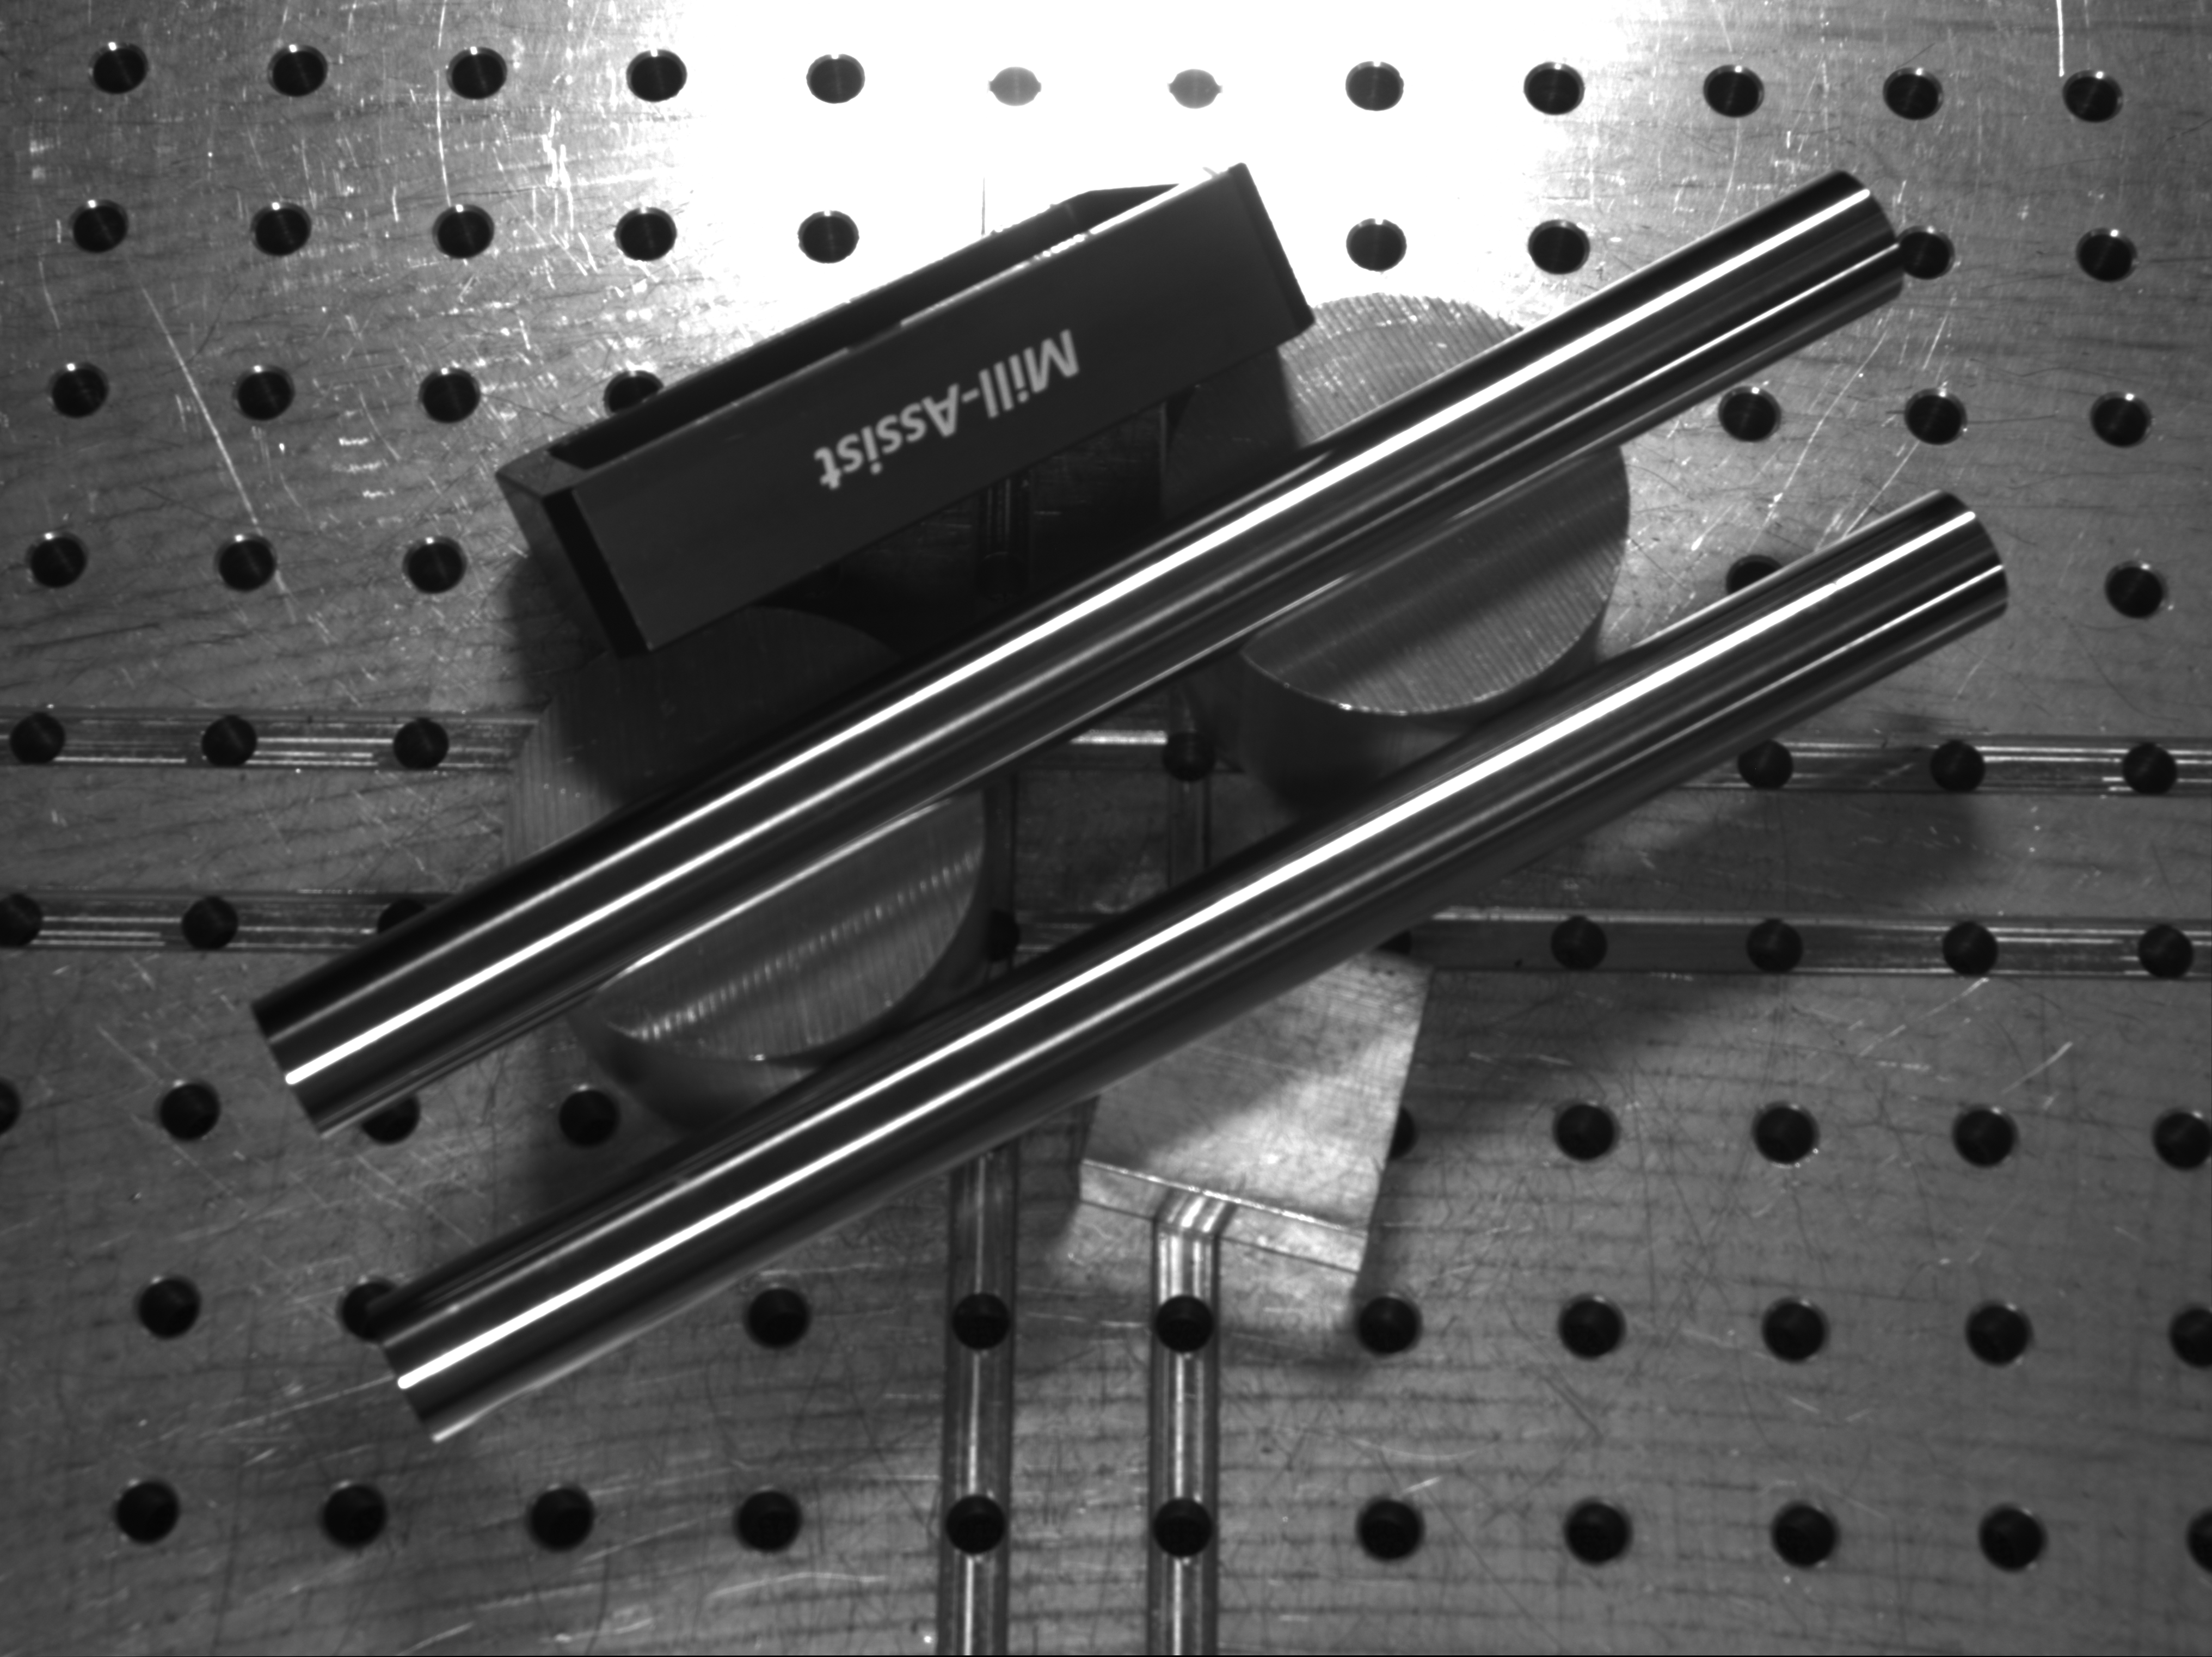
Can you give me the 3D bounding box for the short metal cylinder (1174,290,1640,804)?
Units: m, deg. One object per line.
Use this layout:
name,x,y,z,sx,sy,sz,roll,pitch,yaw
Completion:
short metal cylinder,0.052,-0.048,0.652,0.080,0.050,0.080,0,70,0

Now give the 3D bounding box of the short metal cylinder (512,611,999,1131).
short metal cylinder,-0.058,0.009,0.631,0.080,0.050,0.080,0,70,0

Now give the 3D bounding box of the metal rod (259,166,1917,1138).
metal rod,0.002,-0.032,0.605,0.300,0.025,0.025,-28,72,-10

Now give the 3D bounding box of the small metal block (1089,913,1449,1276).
small metal block,0.028,0.044,0.630,0.050,0.025,0.050,14,70,5

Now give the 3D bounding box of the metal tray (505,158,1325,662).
metal tray,-0.036,-0.075,0.639,0.130,0.090,0.030,-27,104,-10

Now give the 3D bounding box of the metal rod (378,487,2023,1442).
metal rod,0.021,0.020,0.612,0.300,0.025,0.025,-27,72,-10
